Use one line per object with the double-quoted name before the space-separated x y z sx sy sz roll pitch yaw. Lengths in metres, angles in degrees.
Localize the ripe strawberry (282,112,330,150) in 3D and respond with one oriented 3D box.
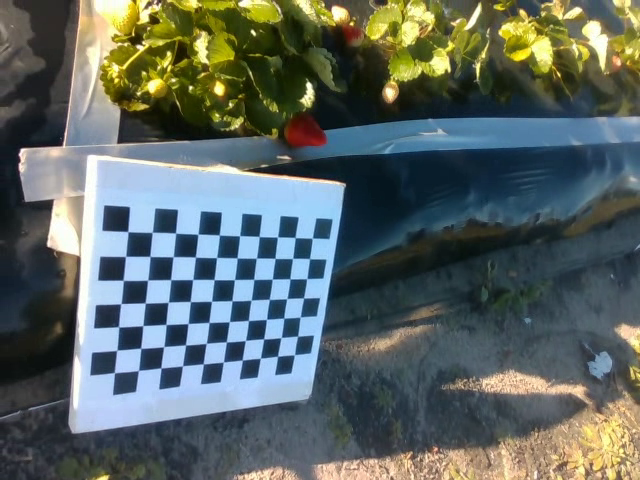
"ripe strawberry" -0.017 -0.125 0.753 0.063 0.045 0.048 29 -3 24
